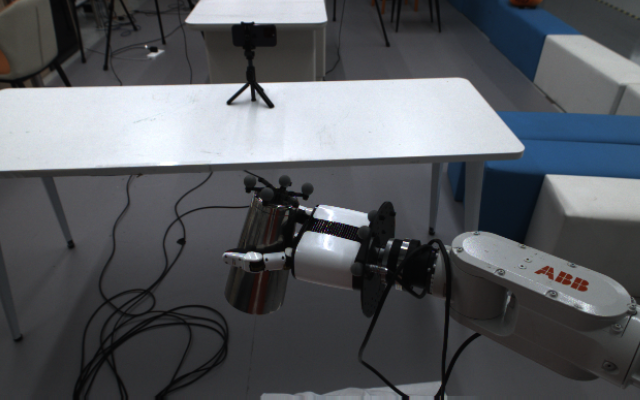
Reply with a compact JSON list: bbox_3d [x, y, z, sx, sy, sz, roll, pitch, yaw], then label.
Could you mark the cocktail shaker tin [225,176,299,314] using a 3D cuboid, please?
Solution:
[{"bbox_3d":[-0.078,0.069,0.705,0.093,0.170,0.093,12,24,-5],"label":"cocktail shaker tin"}]
